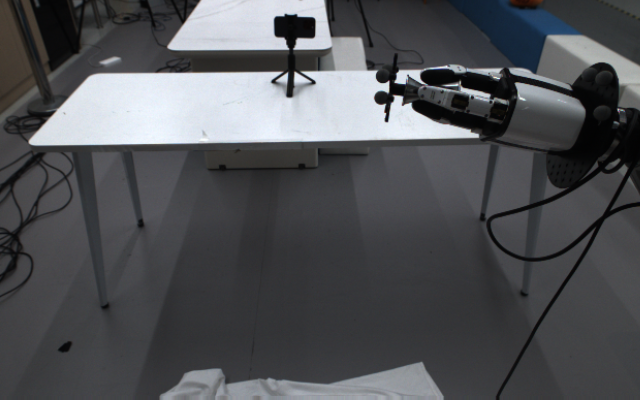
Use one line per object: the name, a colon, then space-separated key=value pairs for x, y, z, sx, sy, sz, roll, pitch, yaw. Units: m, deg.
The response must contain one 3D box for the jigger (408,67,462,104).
jigger: x=0.150 y=-0.143 z=0.629 sx=0.071 sy=0.043 sz=0.043 roll=8 pitch=35 yaw=9
